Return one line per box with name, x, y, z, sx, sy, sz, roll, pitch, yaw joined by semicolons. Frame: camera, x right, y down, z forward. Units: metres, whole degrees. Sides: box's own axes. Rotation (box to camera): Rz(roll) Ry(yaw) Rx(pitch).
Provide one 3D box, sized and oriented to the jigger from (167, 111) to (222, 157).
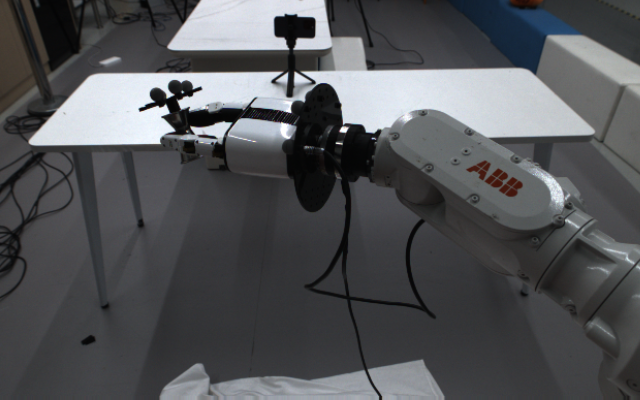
jigger;-0.181;-0.089;0.665;0.043;0.071;0.043;-19;16;6
